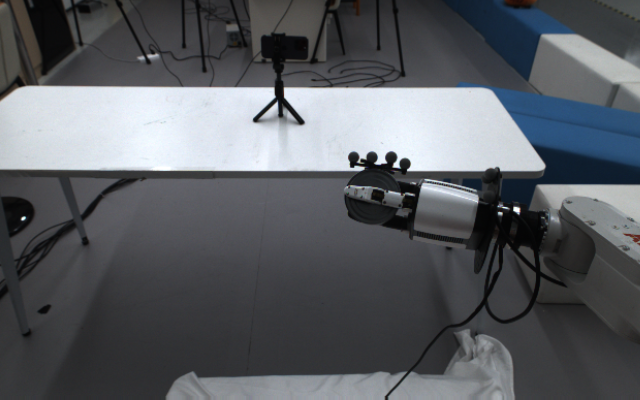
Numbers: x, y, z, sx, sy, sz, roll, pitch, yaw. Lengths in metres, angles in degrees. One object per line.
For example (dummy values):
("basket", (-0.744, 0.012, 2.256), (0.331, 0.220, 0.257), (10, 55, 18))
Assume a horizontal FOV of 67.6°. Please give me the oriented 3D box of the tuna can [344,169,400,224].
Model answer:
("tuna can", (0.082, -0.008, 0.740), (0.085, 0.085, 0.034), (11, -7, 13))
